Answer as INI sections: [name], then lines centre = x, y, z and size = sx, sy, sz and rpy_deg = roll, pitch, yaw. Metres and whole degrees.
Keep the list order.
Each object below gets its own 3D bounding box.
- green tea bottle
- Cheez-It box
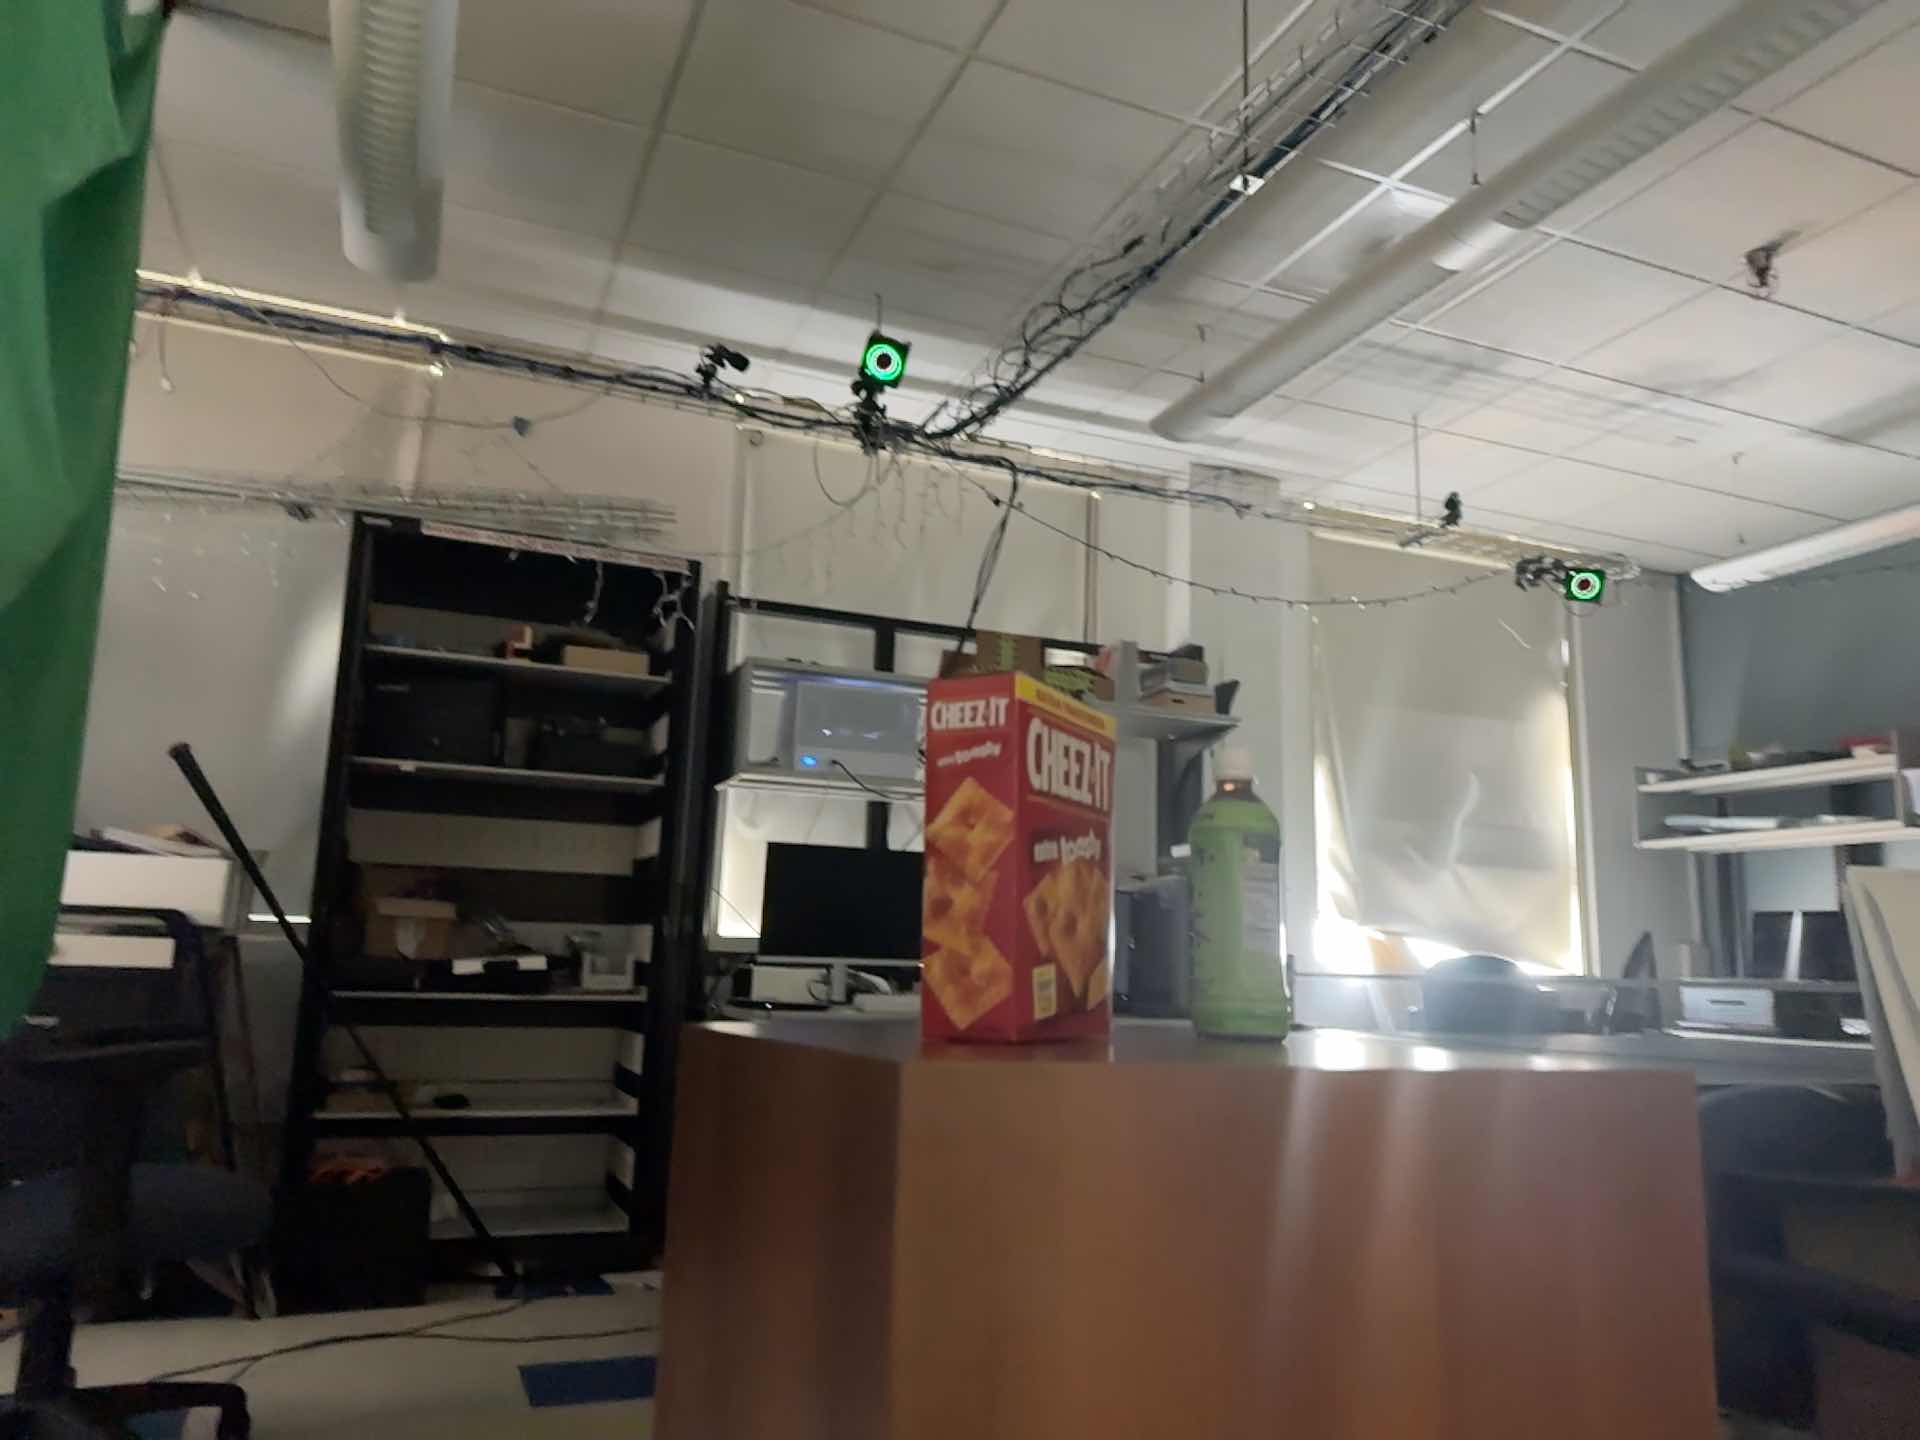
[green tea bottle]
centre = 0.199, 0.123, 0.971
size = 0.073, 0.212, 0.073
rpy_deg = 3, -10, 0
[Cheez-It box]
centre = 0.037, 0.090, 0.839
size = 0.062, 0.214, 0.159
rpy_deg = -2, -10, 25
